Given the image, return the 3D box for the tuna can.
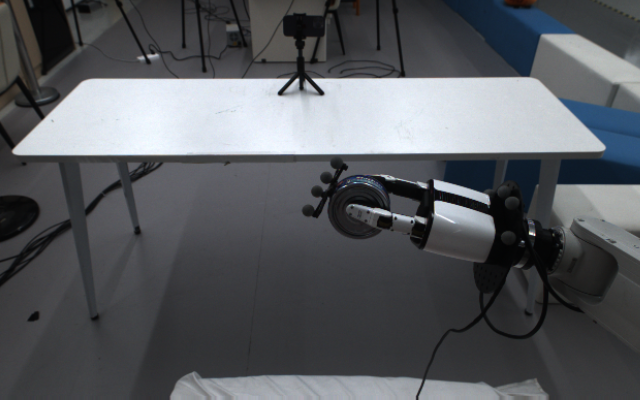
[{"bbox_3d":[0.057,0.008,0.668,0.085,0.085,0.034,3,21,1],"label":"tuna can"}]
